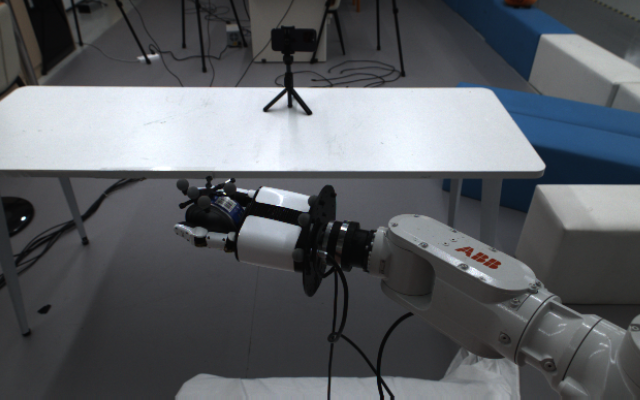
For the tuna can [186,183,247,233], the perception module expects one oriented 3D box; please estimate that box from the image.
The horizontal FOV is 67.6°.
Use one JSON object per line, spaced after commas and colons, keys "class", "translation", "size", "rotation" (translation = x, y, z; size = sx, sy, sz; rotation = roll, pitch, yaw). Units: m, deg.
{"class": "tuna can", "translation": [-0.149, 0.030, 0.706], "size": [0.085, 0.085, 0.034], "rotation": [14, 39, 16]}
